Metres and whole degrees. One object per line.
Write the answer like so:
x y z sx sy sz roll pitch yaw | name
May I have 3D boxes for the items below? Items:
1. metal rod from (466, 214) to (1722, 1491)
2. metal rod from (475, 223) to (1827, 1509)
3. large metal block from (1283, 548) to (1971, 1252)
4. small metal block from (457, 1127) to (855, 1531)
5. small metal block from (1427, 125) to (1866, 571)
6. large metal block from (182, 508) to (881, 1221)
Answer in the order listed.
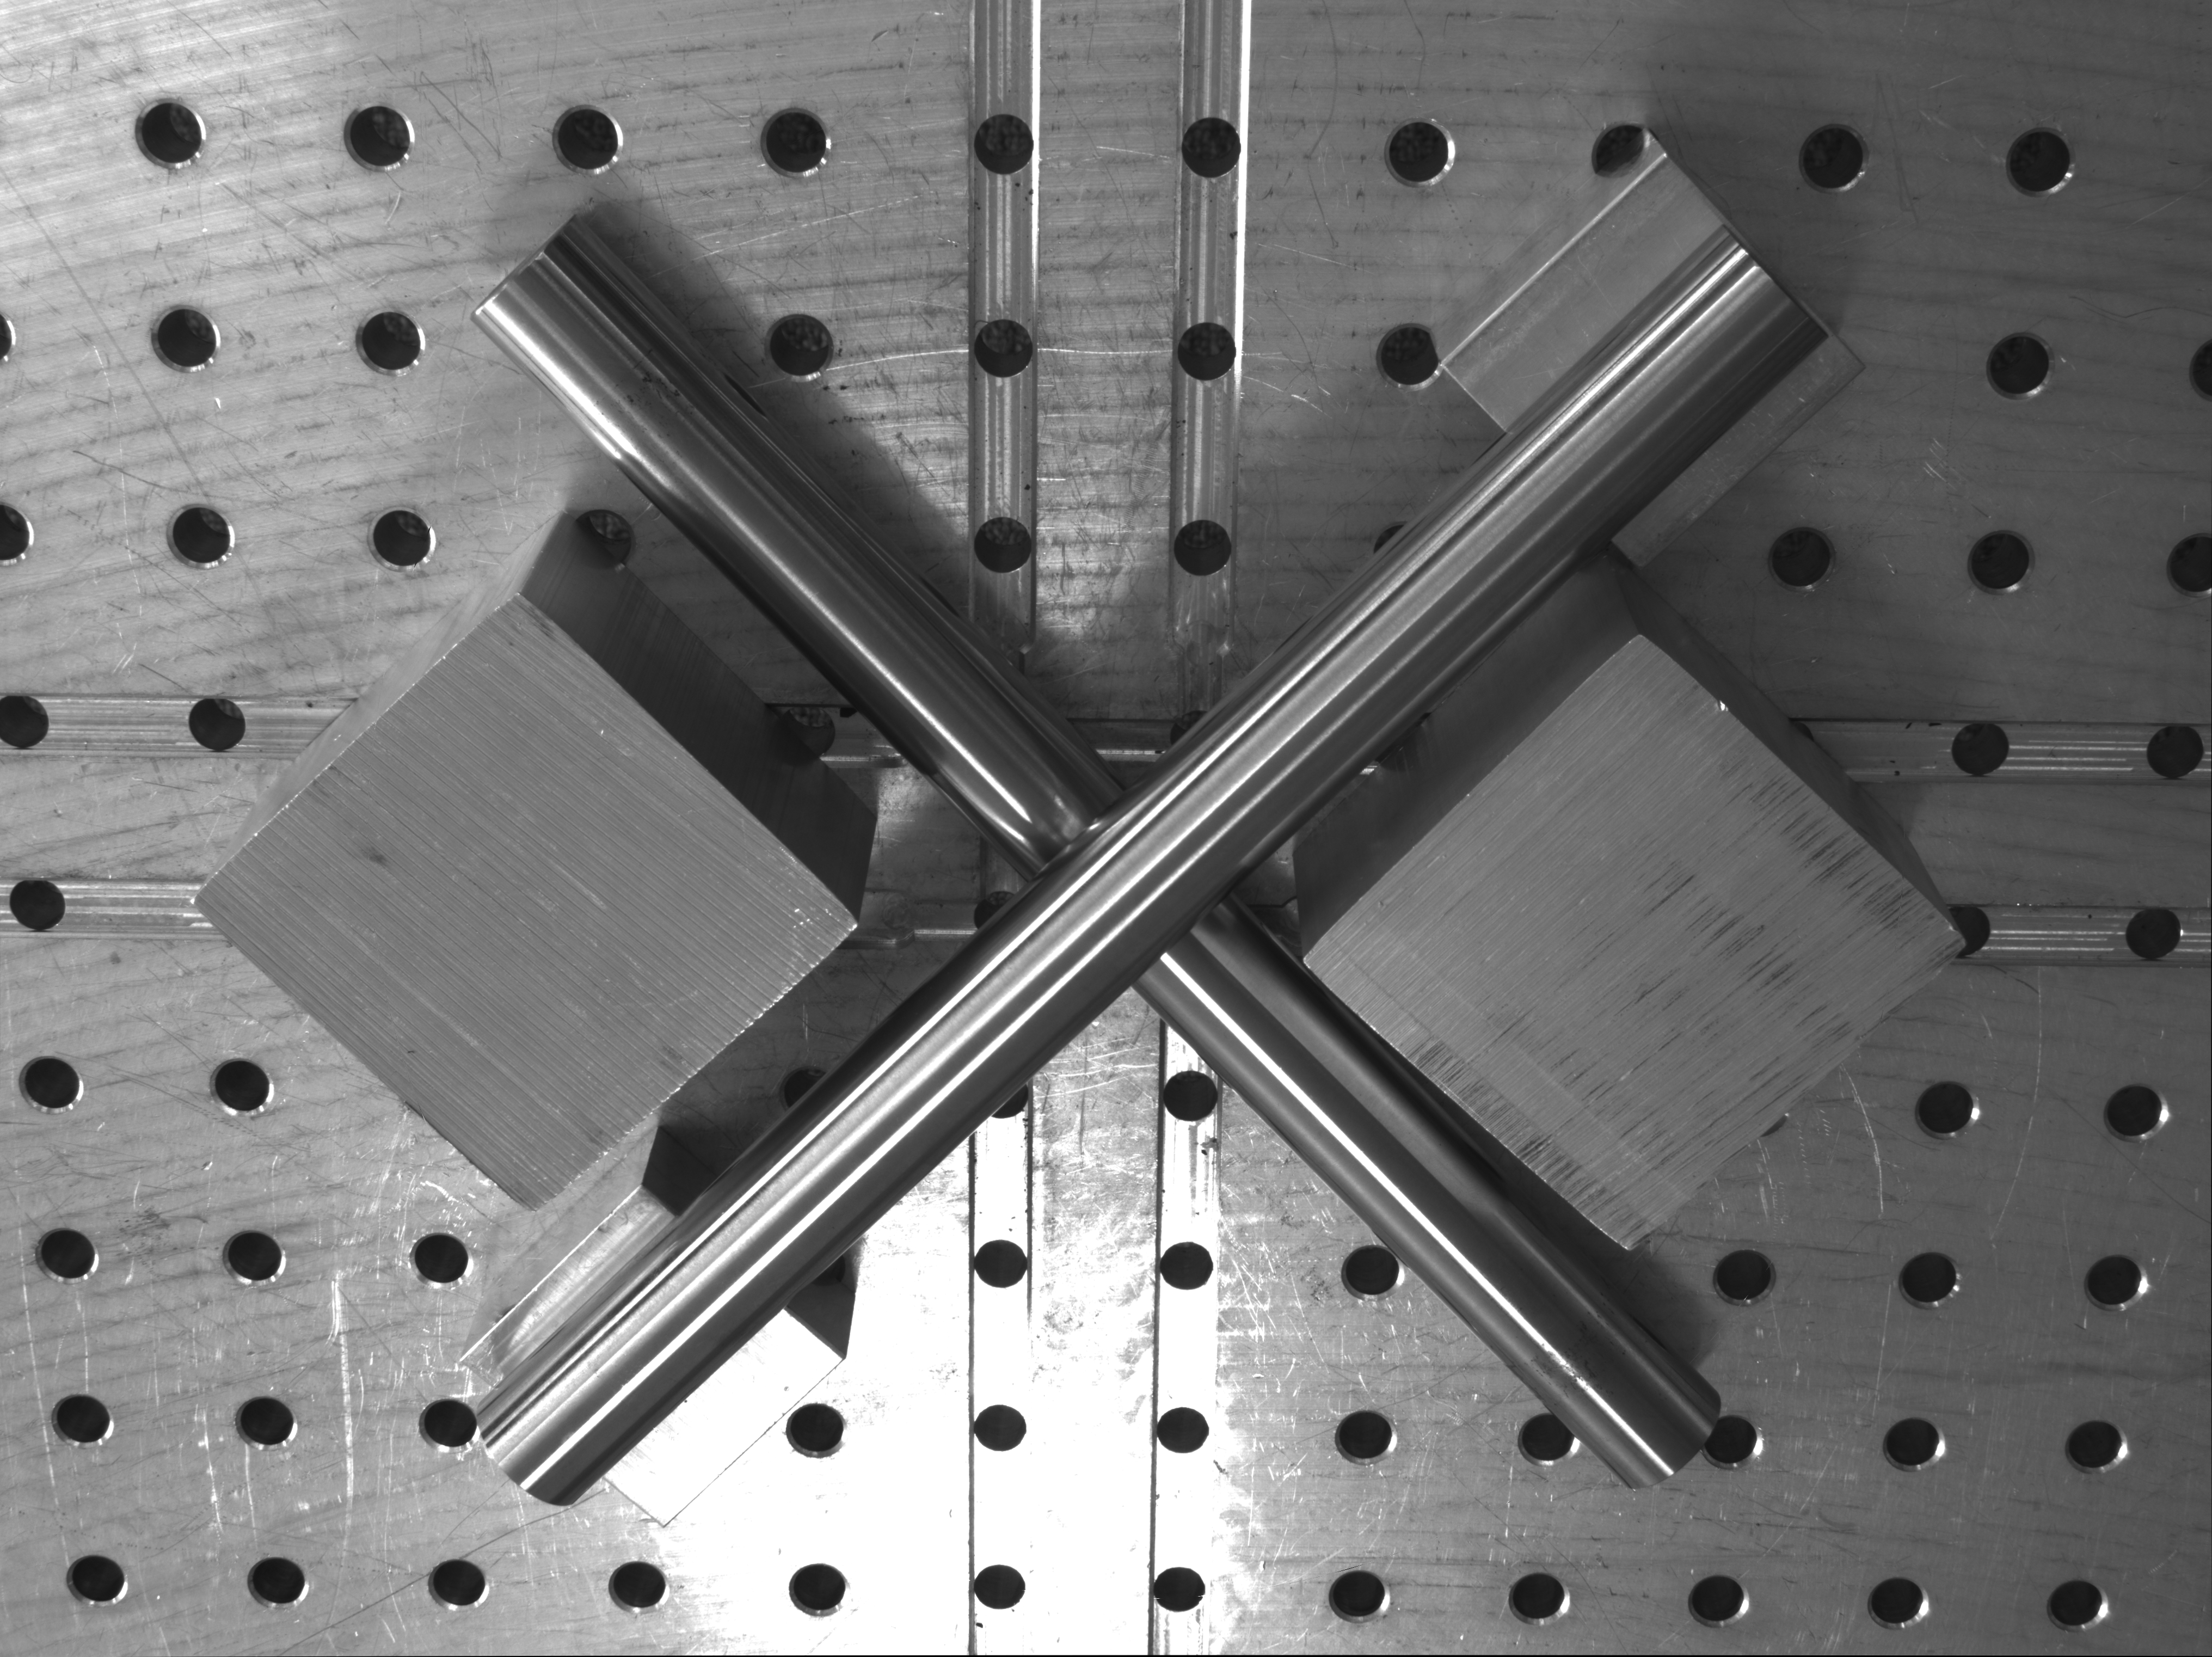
0.004 0.010 0.649 0.025 0.025 0.300 -41 105 13 | metal rod
0.002 0.012 0.623 0.025 0.025 0.300 43 104 -14 | metal rod
0.088 0.011 0.637 0.080 0.050 0.080 41 105 -13 | large metal block
-0.083 0.093 0.679 0.050 0.025 0.050 43 104 -14 | small metal block
0.090 -0.081 0.617 0.050 0.025 0.050 -43 105 14 | small metal block
-0.097 0.006 0.635 0.080 0.050 0.080 -41 105 14 | large metal block
